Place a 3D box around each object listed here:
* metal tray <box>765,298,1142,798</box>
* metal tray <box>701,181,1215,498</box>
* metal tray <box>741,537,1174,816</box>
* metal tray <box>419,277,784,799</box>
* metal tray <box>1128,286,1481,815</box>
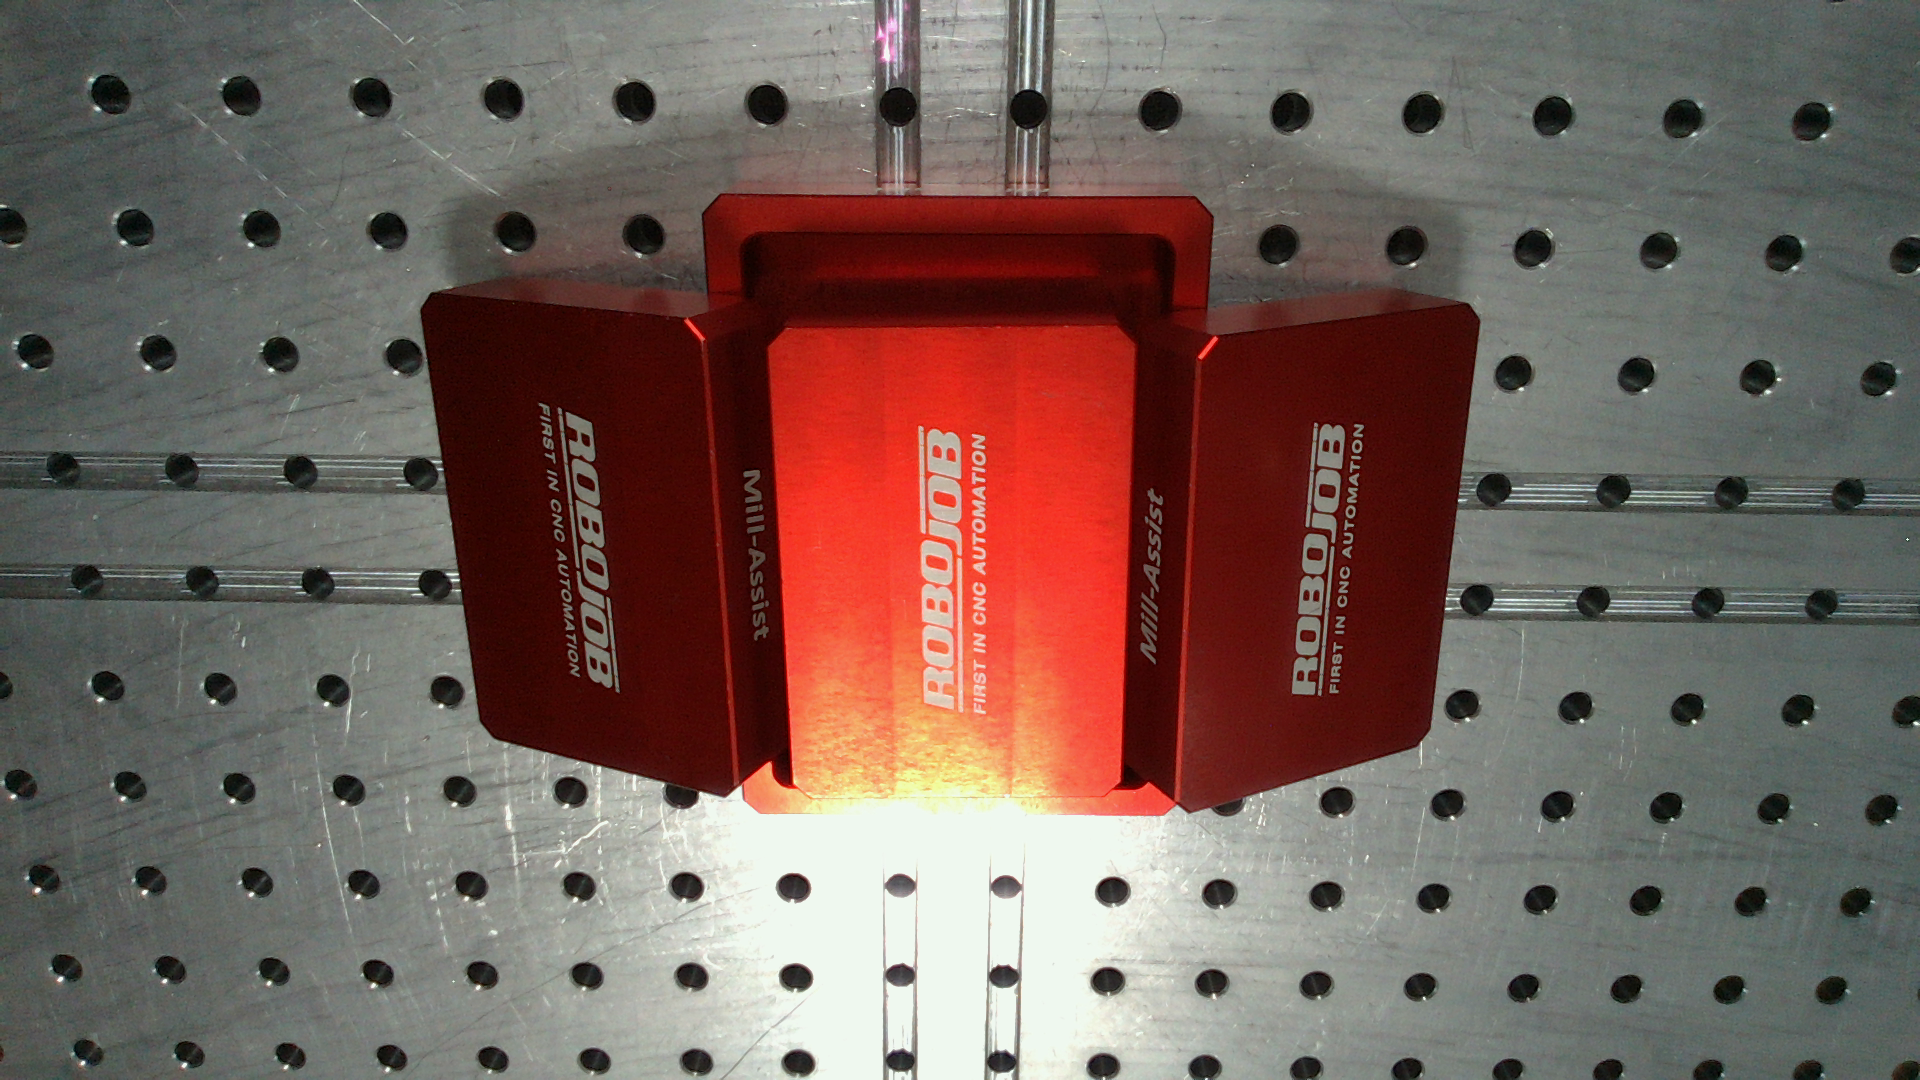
[{"bbox_3d":[-0.001,0.004,0.363,0.090,0.030,0.130,-1,110,0],"label":"metal tray"},{"bbox_3d":[0.000,-0.050,0.375,0.130,0.030,0.090,0,111,0],"label":"metal tray"},{"bbox_3d":[0.000,0.035,0.407,0.130,0.030,0.090,0,111,0],"label":"metal tray"},{"bbox_3d":[-0.094,-0.002,0.374,0.090,0.030,0.130,9,113,24],"label":"metal tray"},{"bbox_3d":[0.091,0.002,0.375,0.090,0.030,0.130,-11,113,-25],"label":"metal tray"}]
